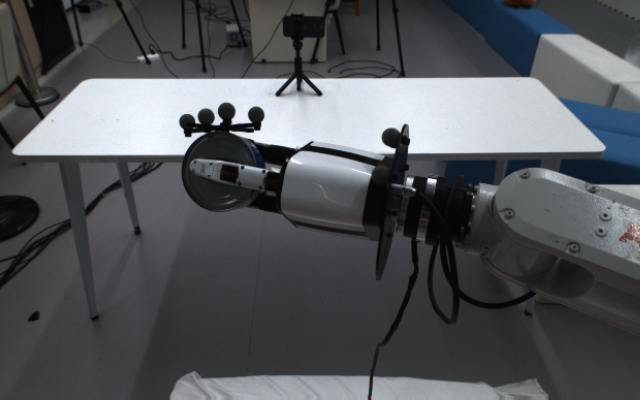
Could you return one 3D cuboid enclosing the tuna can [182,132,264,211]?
[{"bbox_3d":[-0.100,-0.026,0.524,0.085,0.085,0.034,10,3,11],"label":"tuna can"}]
